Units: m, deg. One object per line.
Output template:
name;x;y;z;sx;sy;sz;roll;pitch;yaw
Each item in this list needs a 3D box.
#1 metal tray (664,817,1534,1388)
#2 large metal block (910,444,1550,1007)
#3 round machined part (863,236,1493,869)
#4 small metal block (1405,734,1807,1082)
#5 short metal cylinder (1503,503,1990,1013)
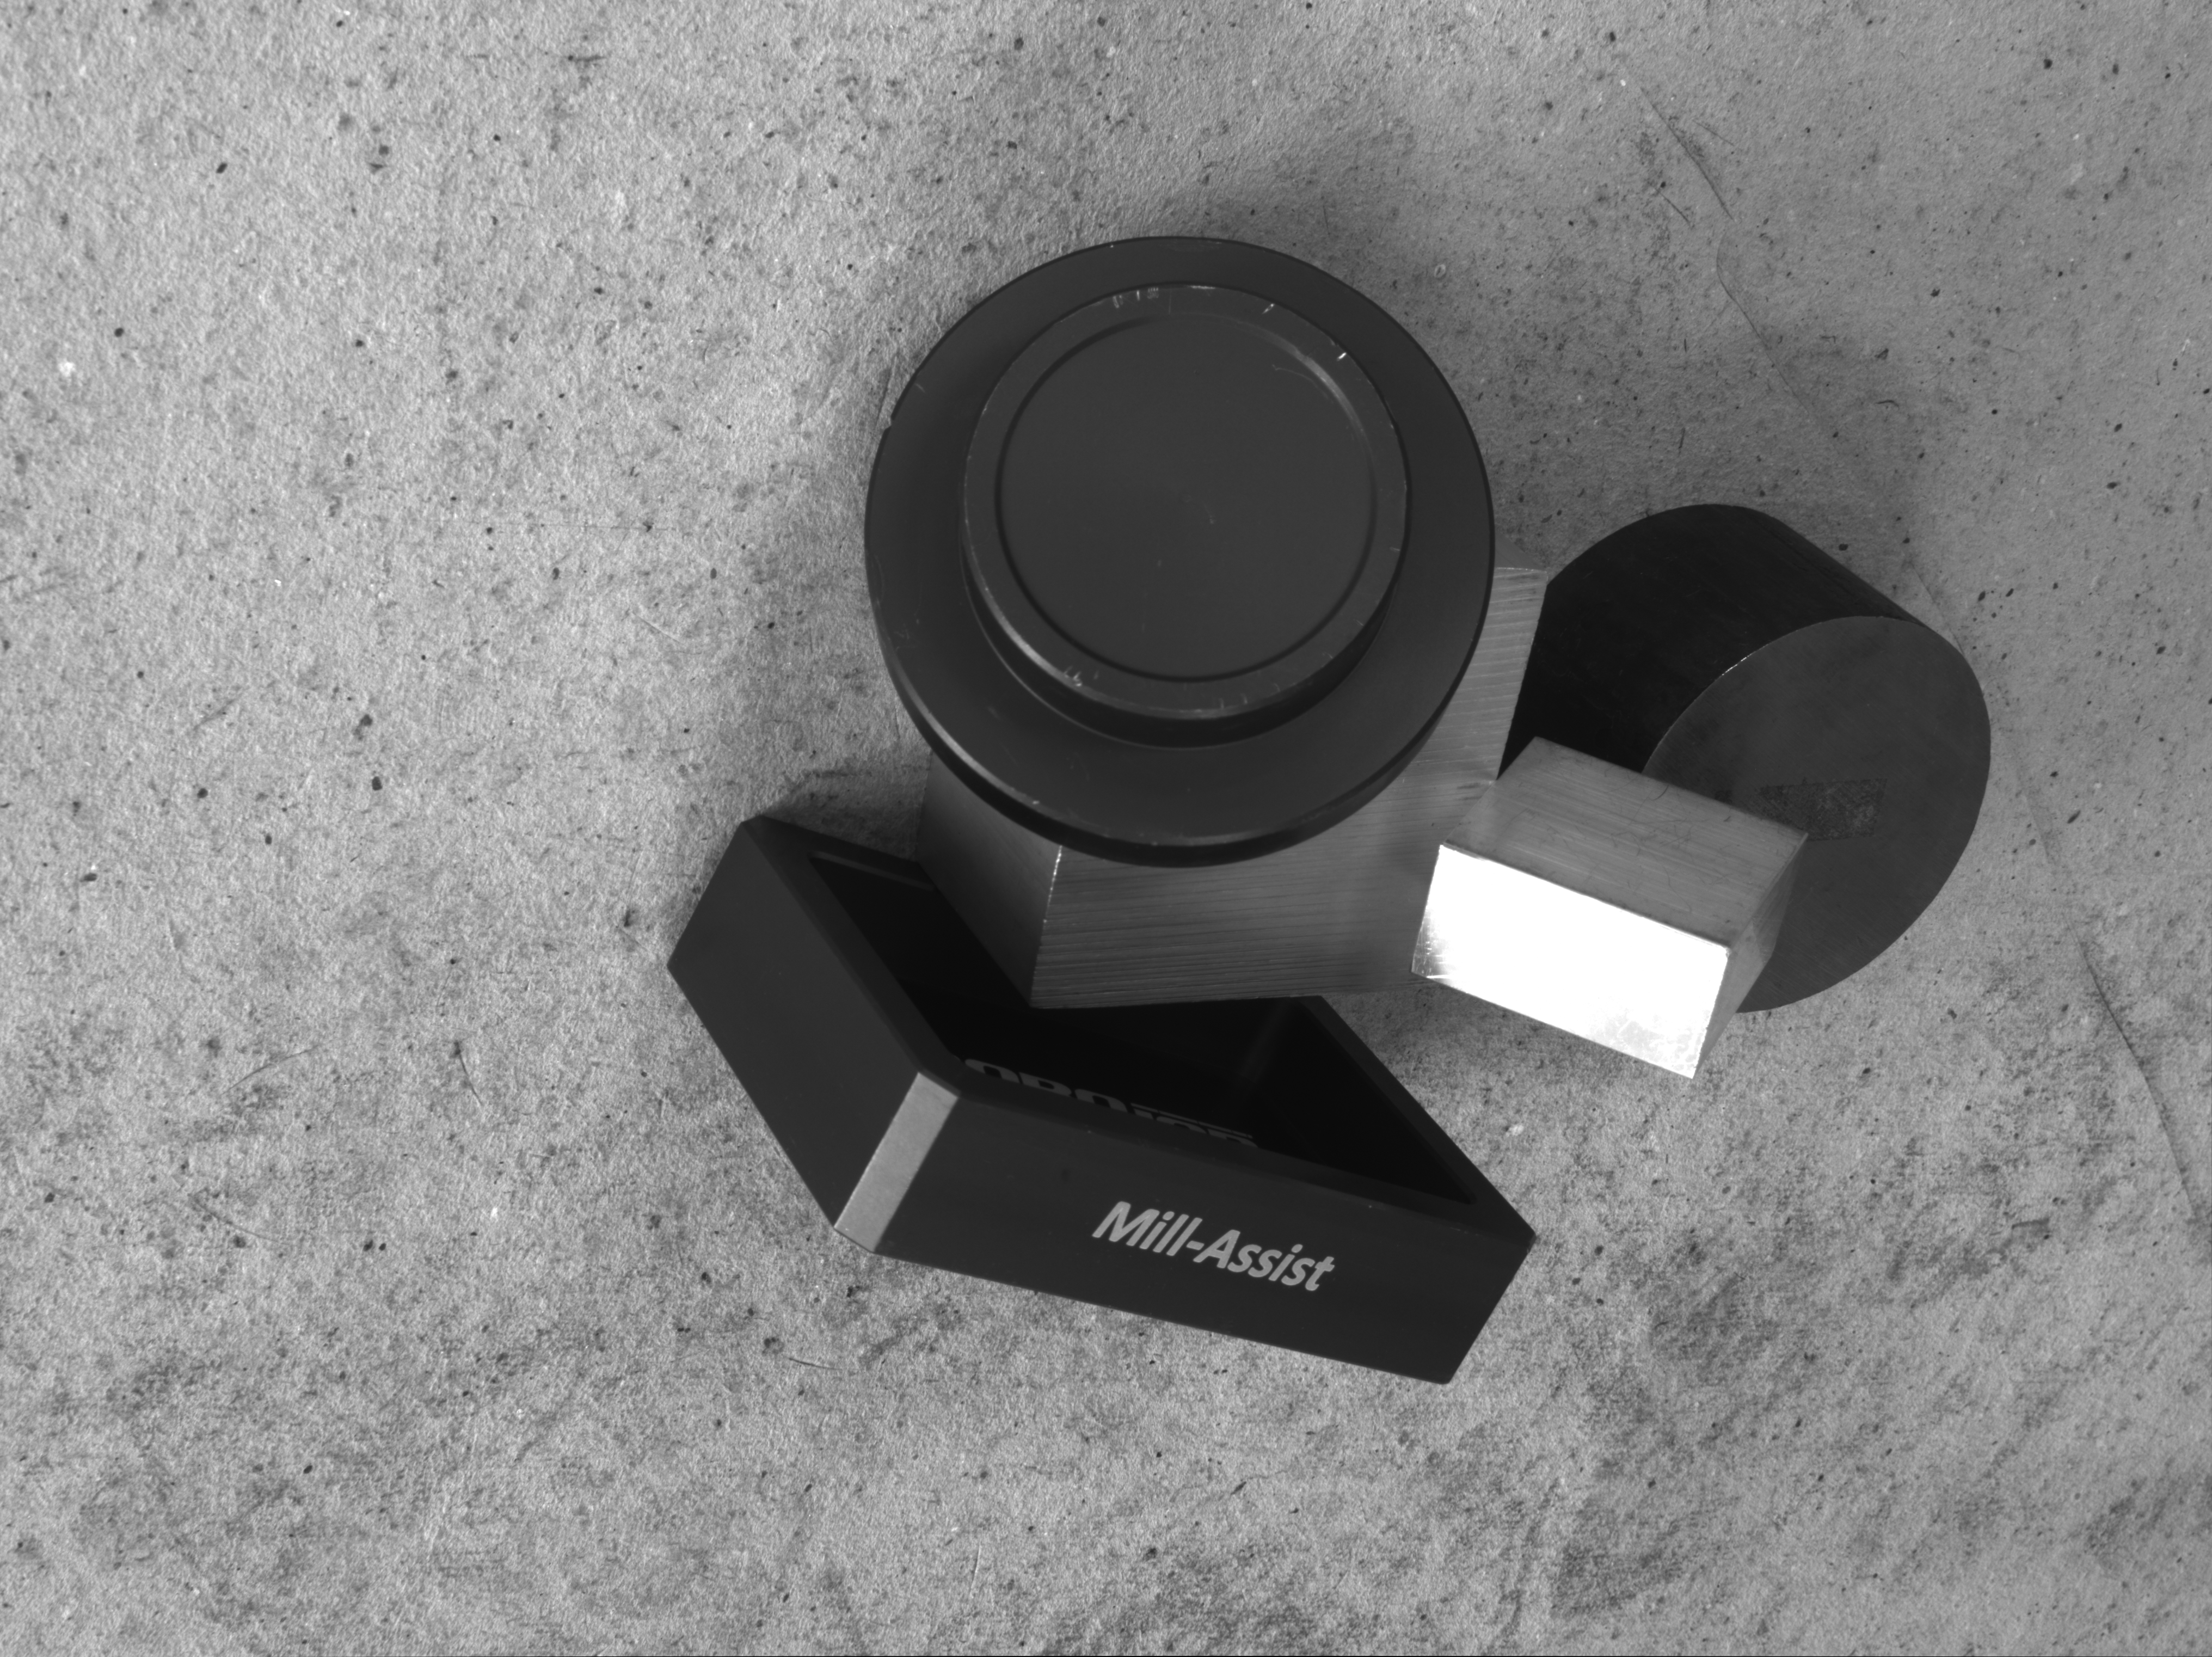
metal tray;-0.001;0.047;0.623;0.130;0.090;0.030;18;109;-35
large metal block;0.019;-0.019;0.622;0.080;0.050;0.080;-2;119;-27
round machined part;0.011;-0.045;0.569;0.098;0.098;0.042;-32;173;-7
small metal block;0.084;0.012;0.616;0.050;0.050;0.025;-43;150;-56
short metal cylinder;0.115;-0.013;0.676;0.080;0.050;0.080;-13;124;-21
